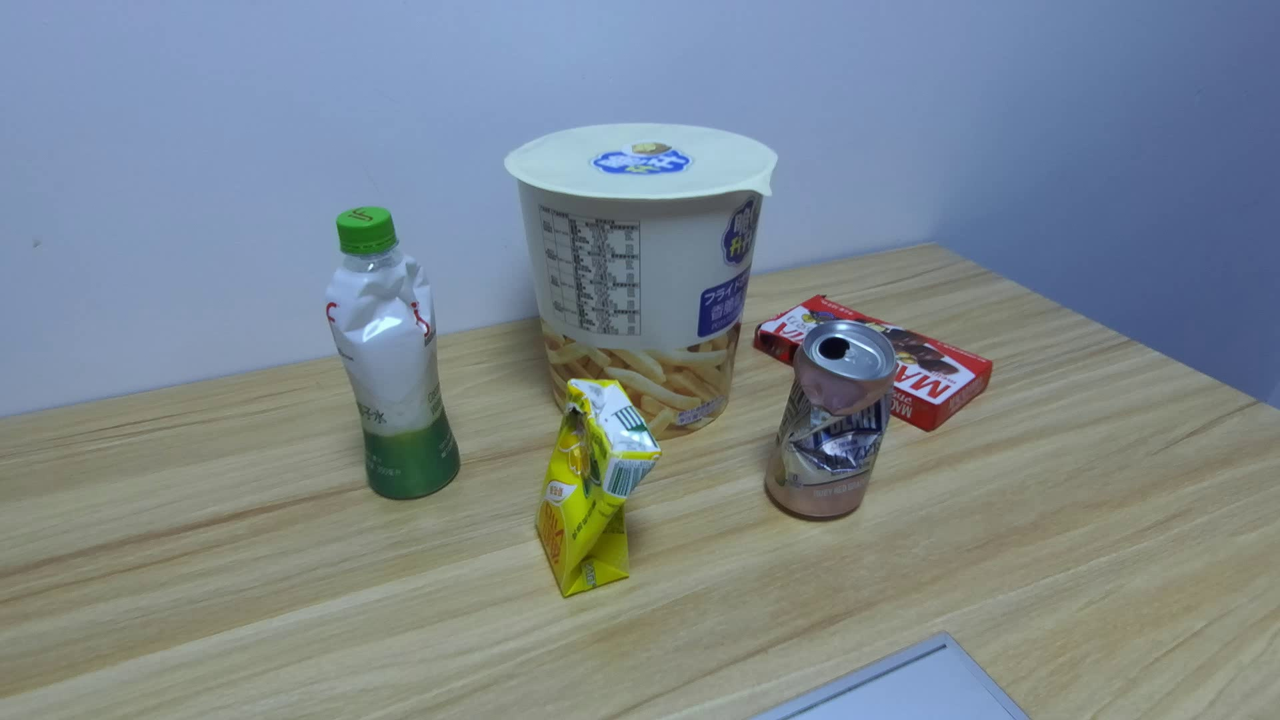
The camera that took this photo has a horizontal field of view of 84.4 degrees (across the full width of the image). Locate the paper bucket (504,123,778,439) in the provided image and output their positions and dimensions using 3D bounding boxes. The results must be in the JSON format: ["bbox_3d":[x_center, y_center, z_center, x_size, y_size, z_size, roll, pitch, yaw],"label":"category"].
[{"bbox_3d":[0.002,-0.061,0.540,0.198,0.195,0.198,-1,32,1],"label":"paper bucket"}]

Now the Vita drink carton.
[{"bbox_3d":[-0.025,0.072,0.412,0.042,0.108,0.086,2,31,-26],"label":"Vita drink carton"}]

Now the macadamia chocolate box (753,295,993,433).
[{"bbox_3d":[0.198,-0.006,0.617,0.106,0.028,0.182,-25,39,-35],"label":"macadamia chocolate box"}]

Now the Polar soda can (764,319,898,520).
[{"bbox_3d":[0.122,0.042,0.447,0.066,0.122,0.071,16,35,15],"label":"Polar soda can"}]

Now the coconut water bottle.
[{"bbox_3d":[-0.159,-0.002,0.448,0.069,0.186,0.069,0,31,0],"label":"coconut water bottle"}]
